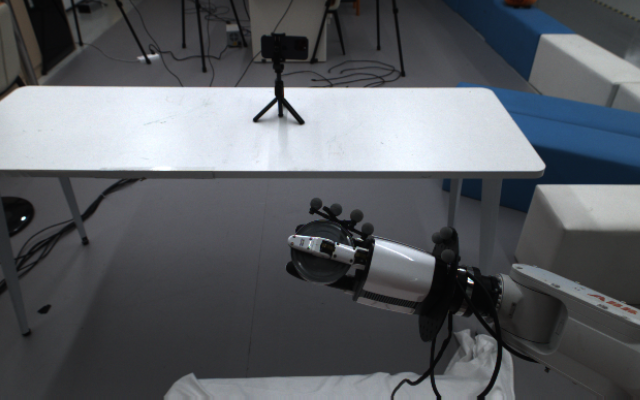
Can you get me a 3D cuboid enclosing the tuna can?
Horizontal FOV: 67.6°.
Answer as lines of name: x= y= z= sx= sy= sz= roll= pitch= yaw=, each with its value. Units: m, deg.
tuna can: x=0.005 y=0.072 z=0.658 sx=0.085 sy=0.034 sz=0.085 roll=0 pitch=72 yaw=0
